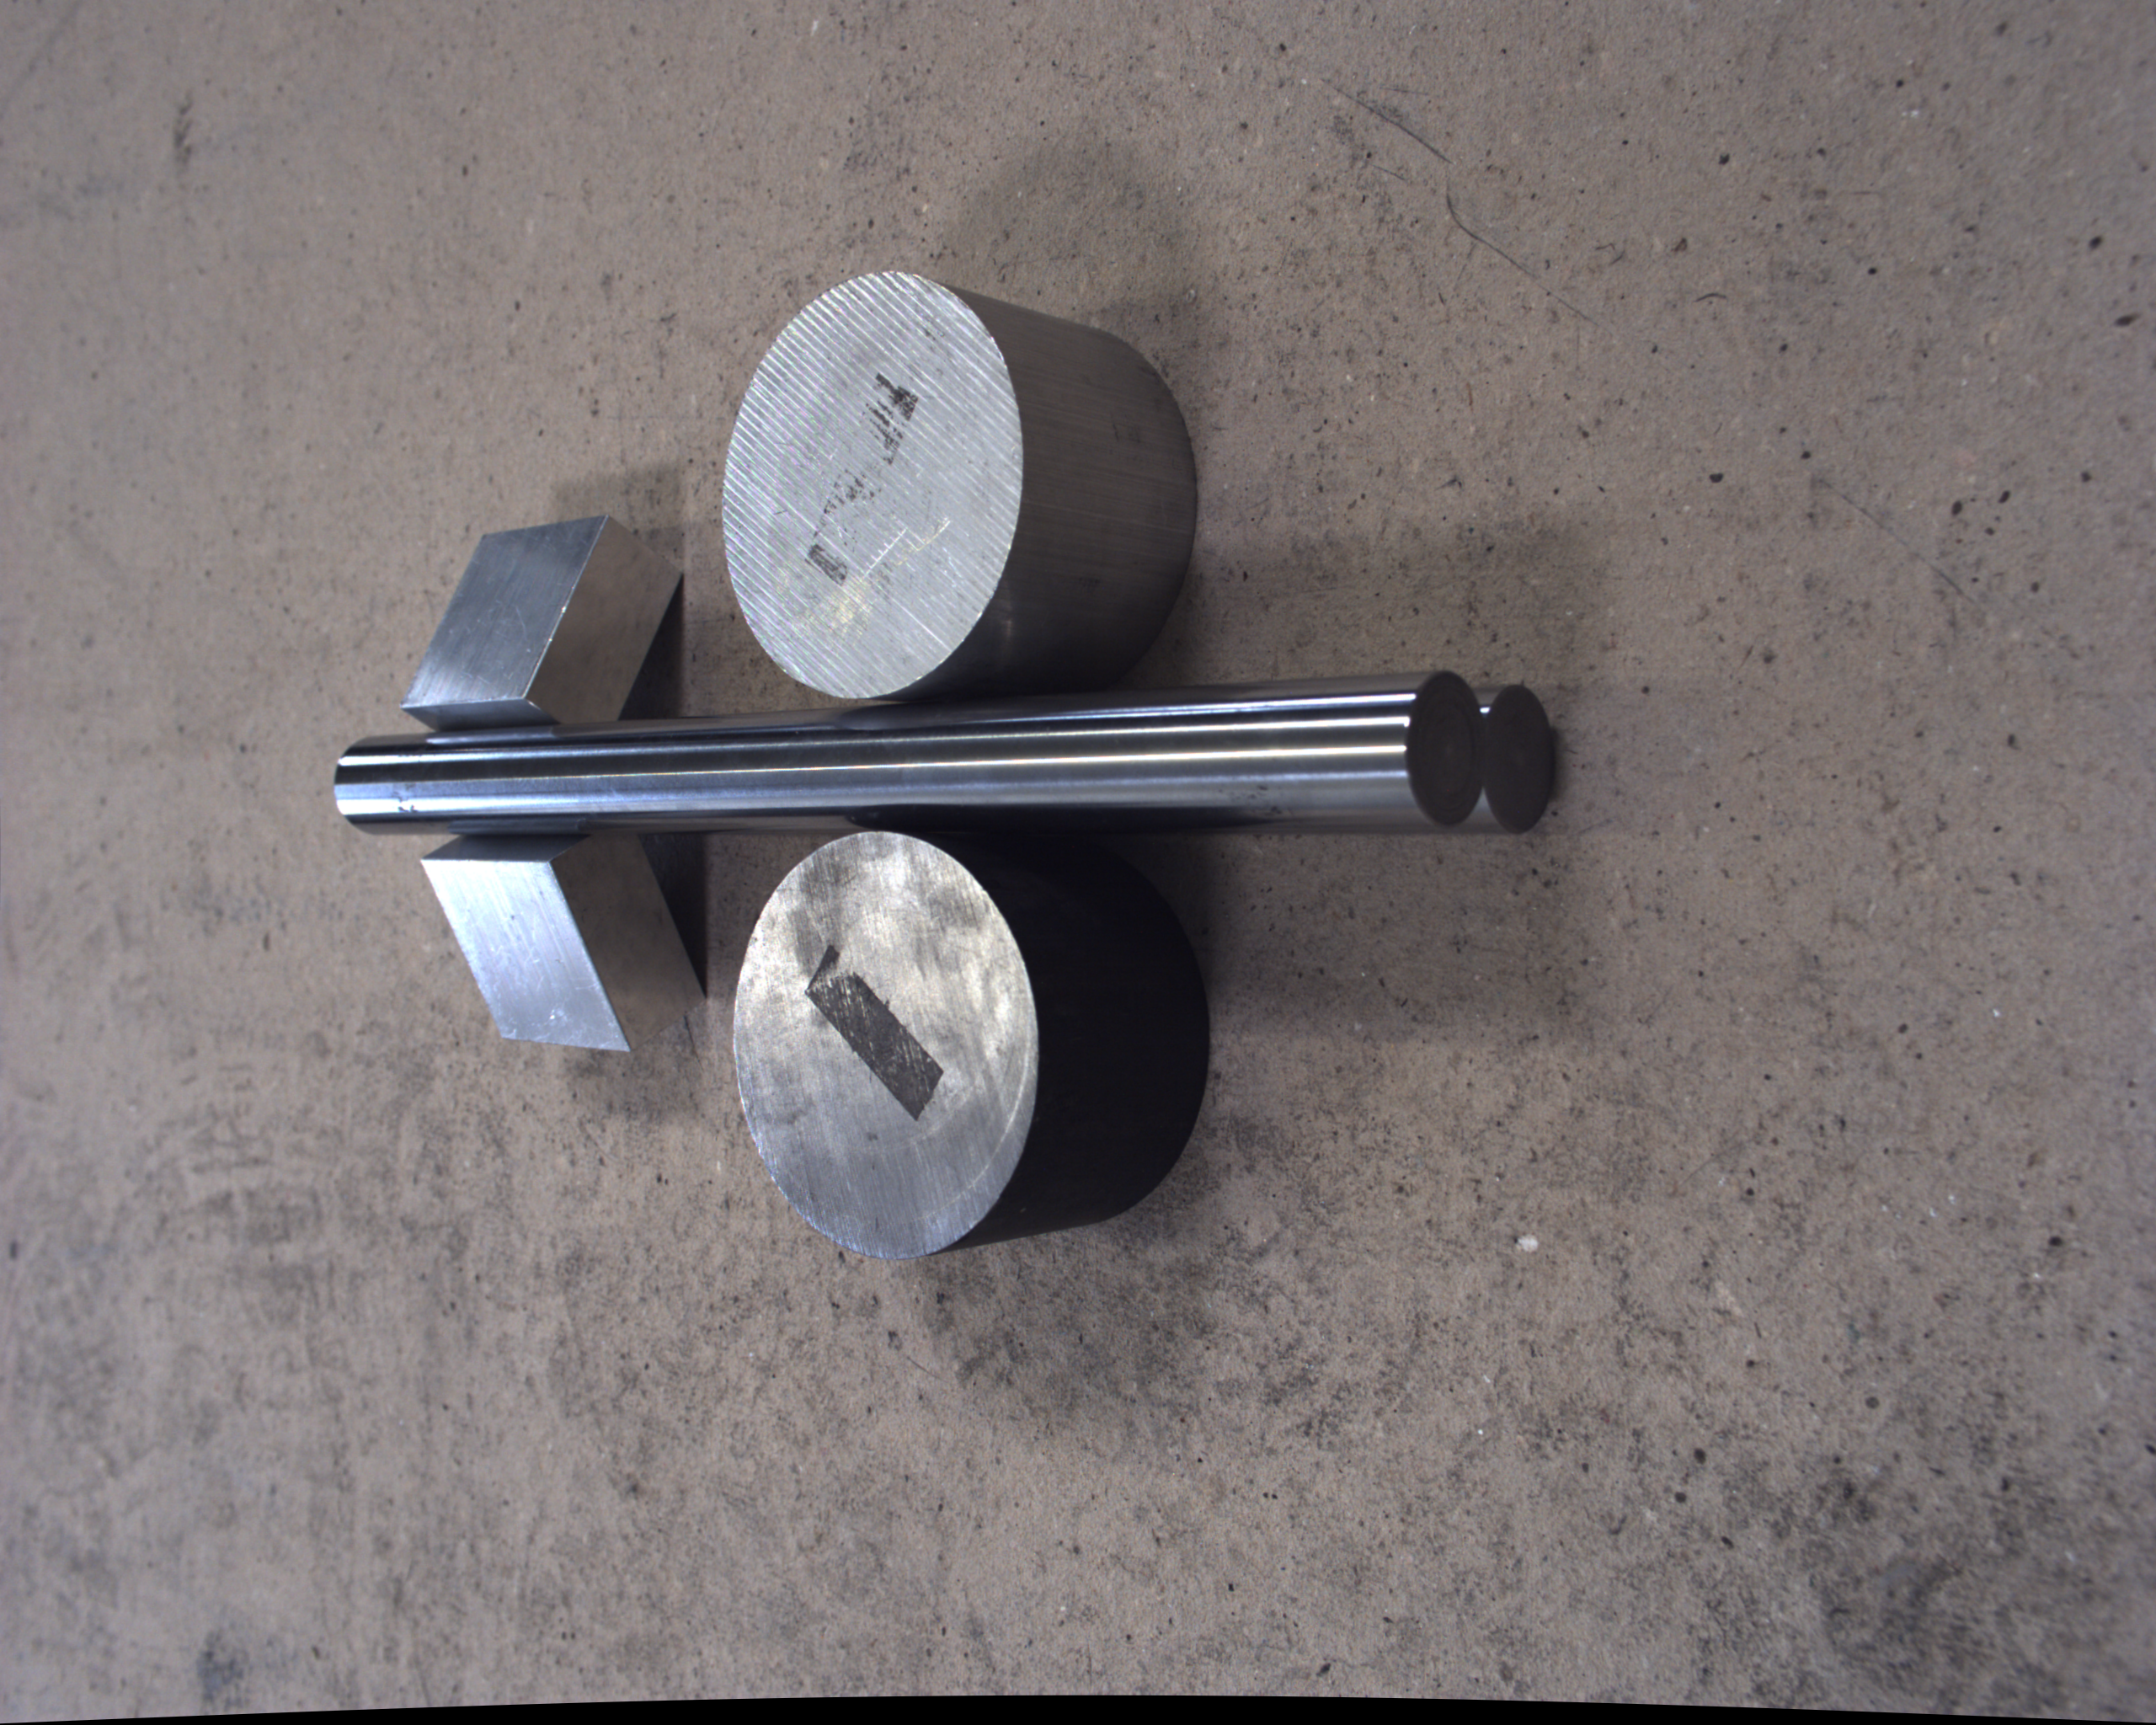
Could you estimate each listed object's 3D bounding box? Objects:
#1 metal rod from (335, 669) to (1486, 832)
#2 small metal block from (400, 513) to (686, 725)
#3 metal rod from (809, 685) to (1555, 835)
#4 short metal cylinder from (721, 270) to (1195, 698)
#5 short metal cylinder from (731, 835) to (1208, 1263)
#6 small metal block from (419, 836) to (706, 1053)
[{"bbox_3d":[-0.058,-0.019,0.422,0.300,0.025,0.025,1,90,40],"label":"metal rod"},{"bbox_3d":[-0.128,-0.054,0.500,0.050,0.025,0.050,0,63,40],"label":"small metal block"},{"bbox_3d":[-0.042,-0.018,0.441,0.300,0.025,0.025,1,91,40],"label":"metal rod"},{"bbox_3d":[-0.024,-0.071,0.410,0.080,0.050,0.079,0,90,40],"label":"short metal cylinder"},{"bbox_3d":[-0.022,0.034,0.408,0.080,0.050,0.079,0,90,40],"label":"short metal cylinder"},{"bbox_3d":[-0.122,0.016,0.494,0.050,0.025,0.050,1,117,39],"label":"small metal block"}]
